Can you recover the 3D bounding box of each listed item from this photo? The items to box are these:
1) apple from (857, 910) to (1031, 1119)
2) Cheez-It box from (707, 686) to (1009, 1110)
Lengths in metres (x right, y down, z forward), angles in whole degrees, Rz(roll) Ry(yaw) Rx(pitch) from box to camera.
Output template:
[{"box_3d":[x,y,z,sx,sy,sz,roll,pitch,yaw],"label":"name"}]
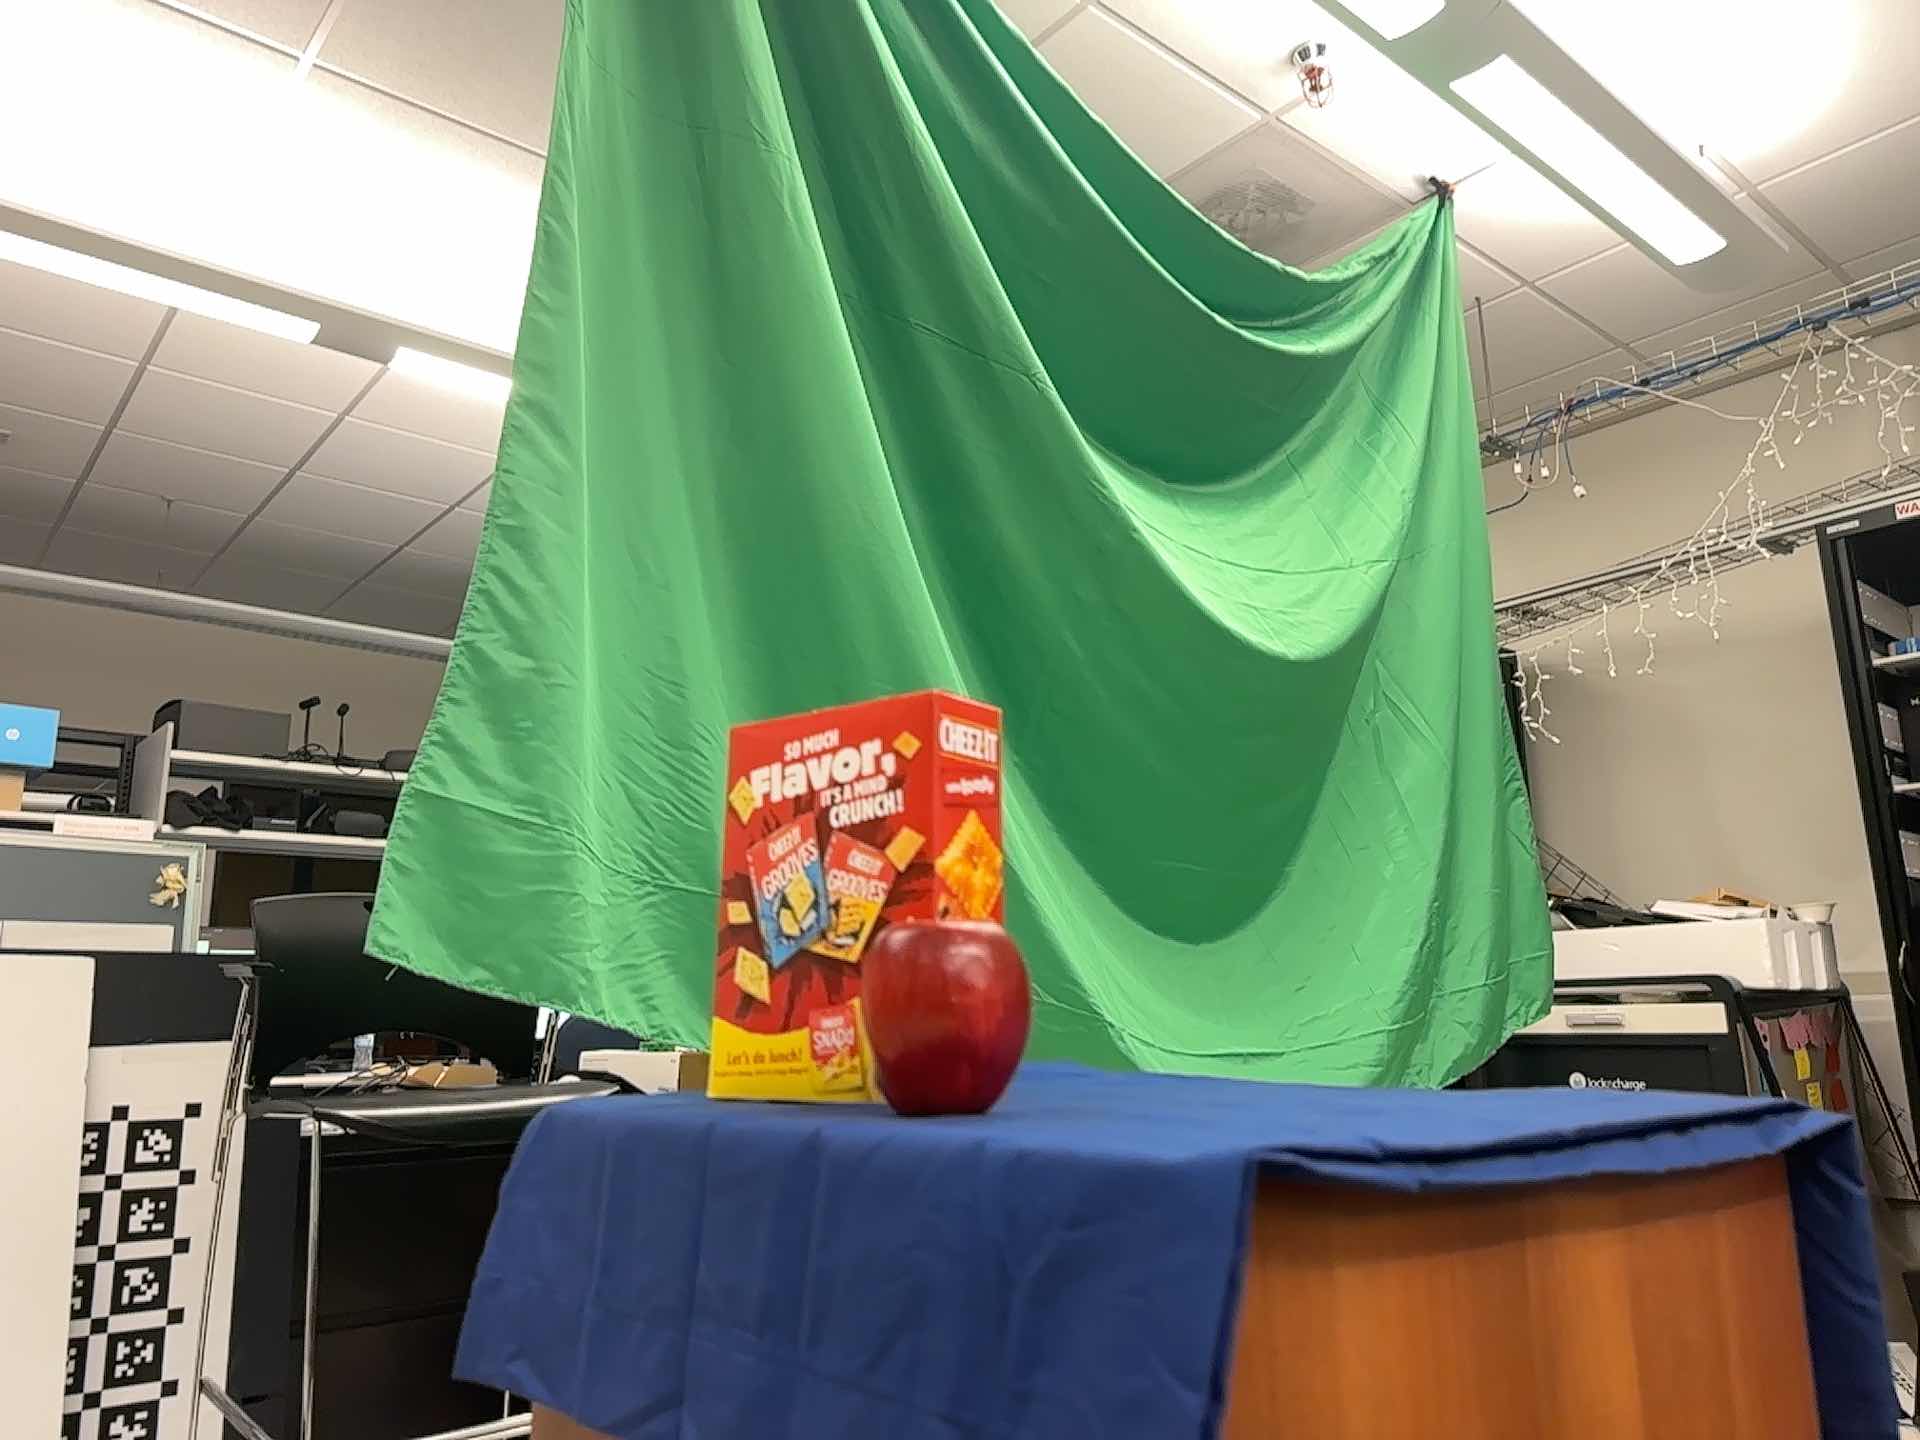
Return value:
[{"box_3d":[-0.007,0.134,0.621,0.079,0.093,0.079,-3,-12,-1],"label":"apple"},{"box_3d":[-0.059,0.102,0.758,0.159,0.214,0.062,-8,-13,34],"label":"Cheez-It box"}]
